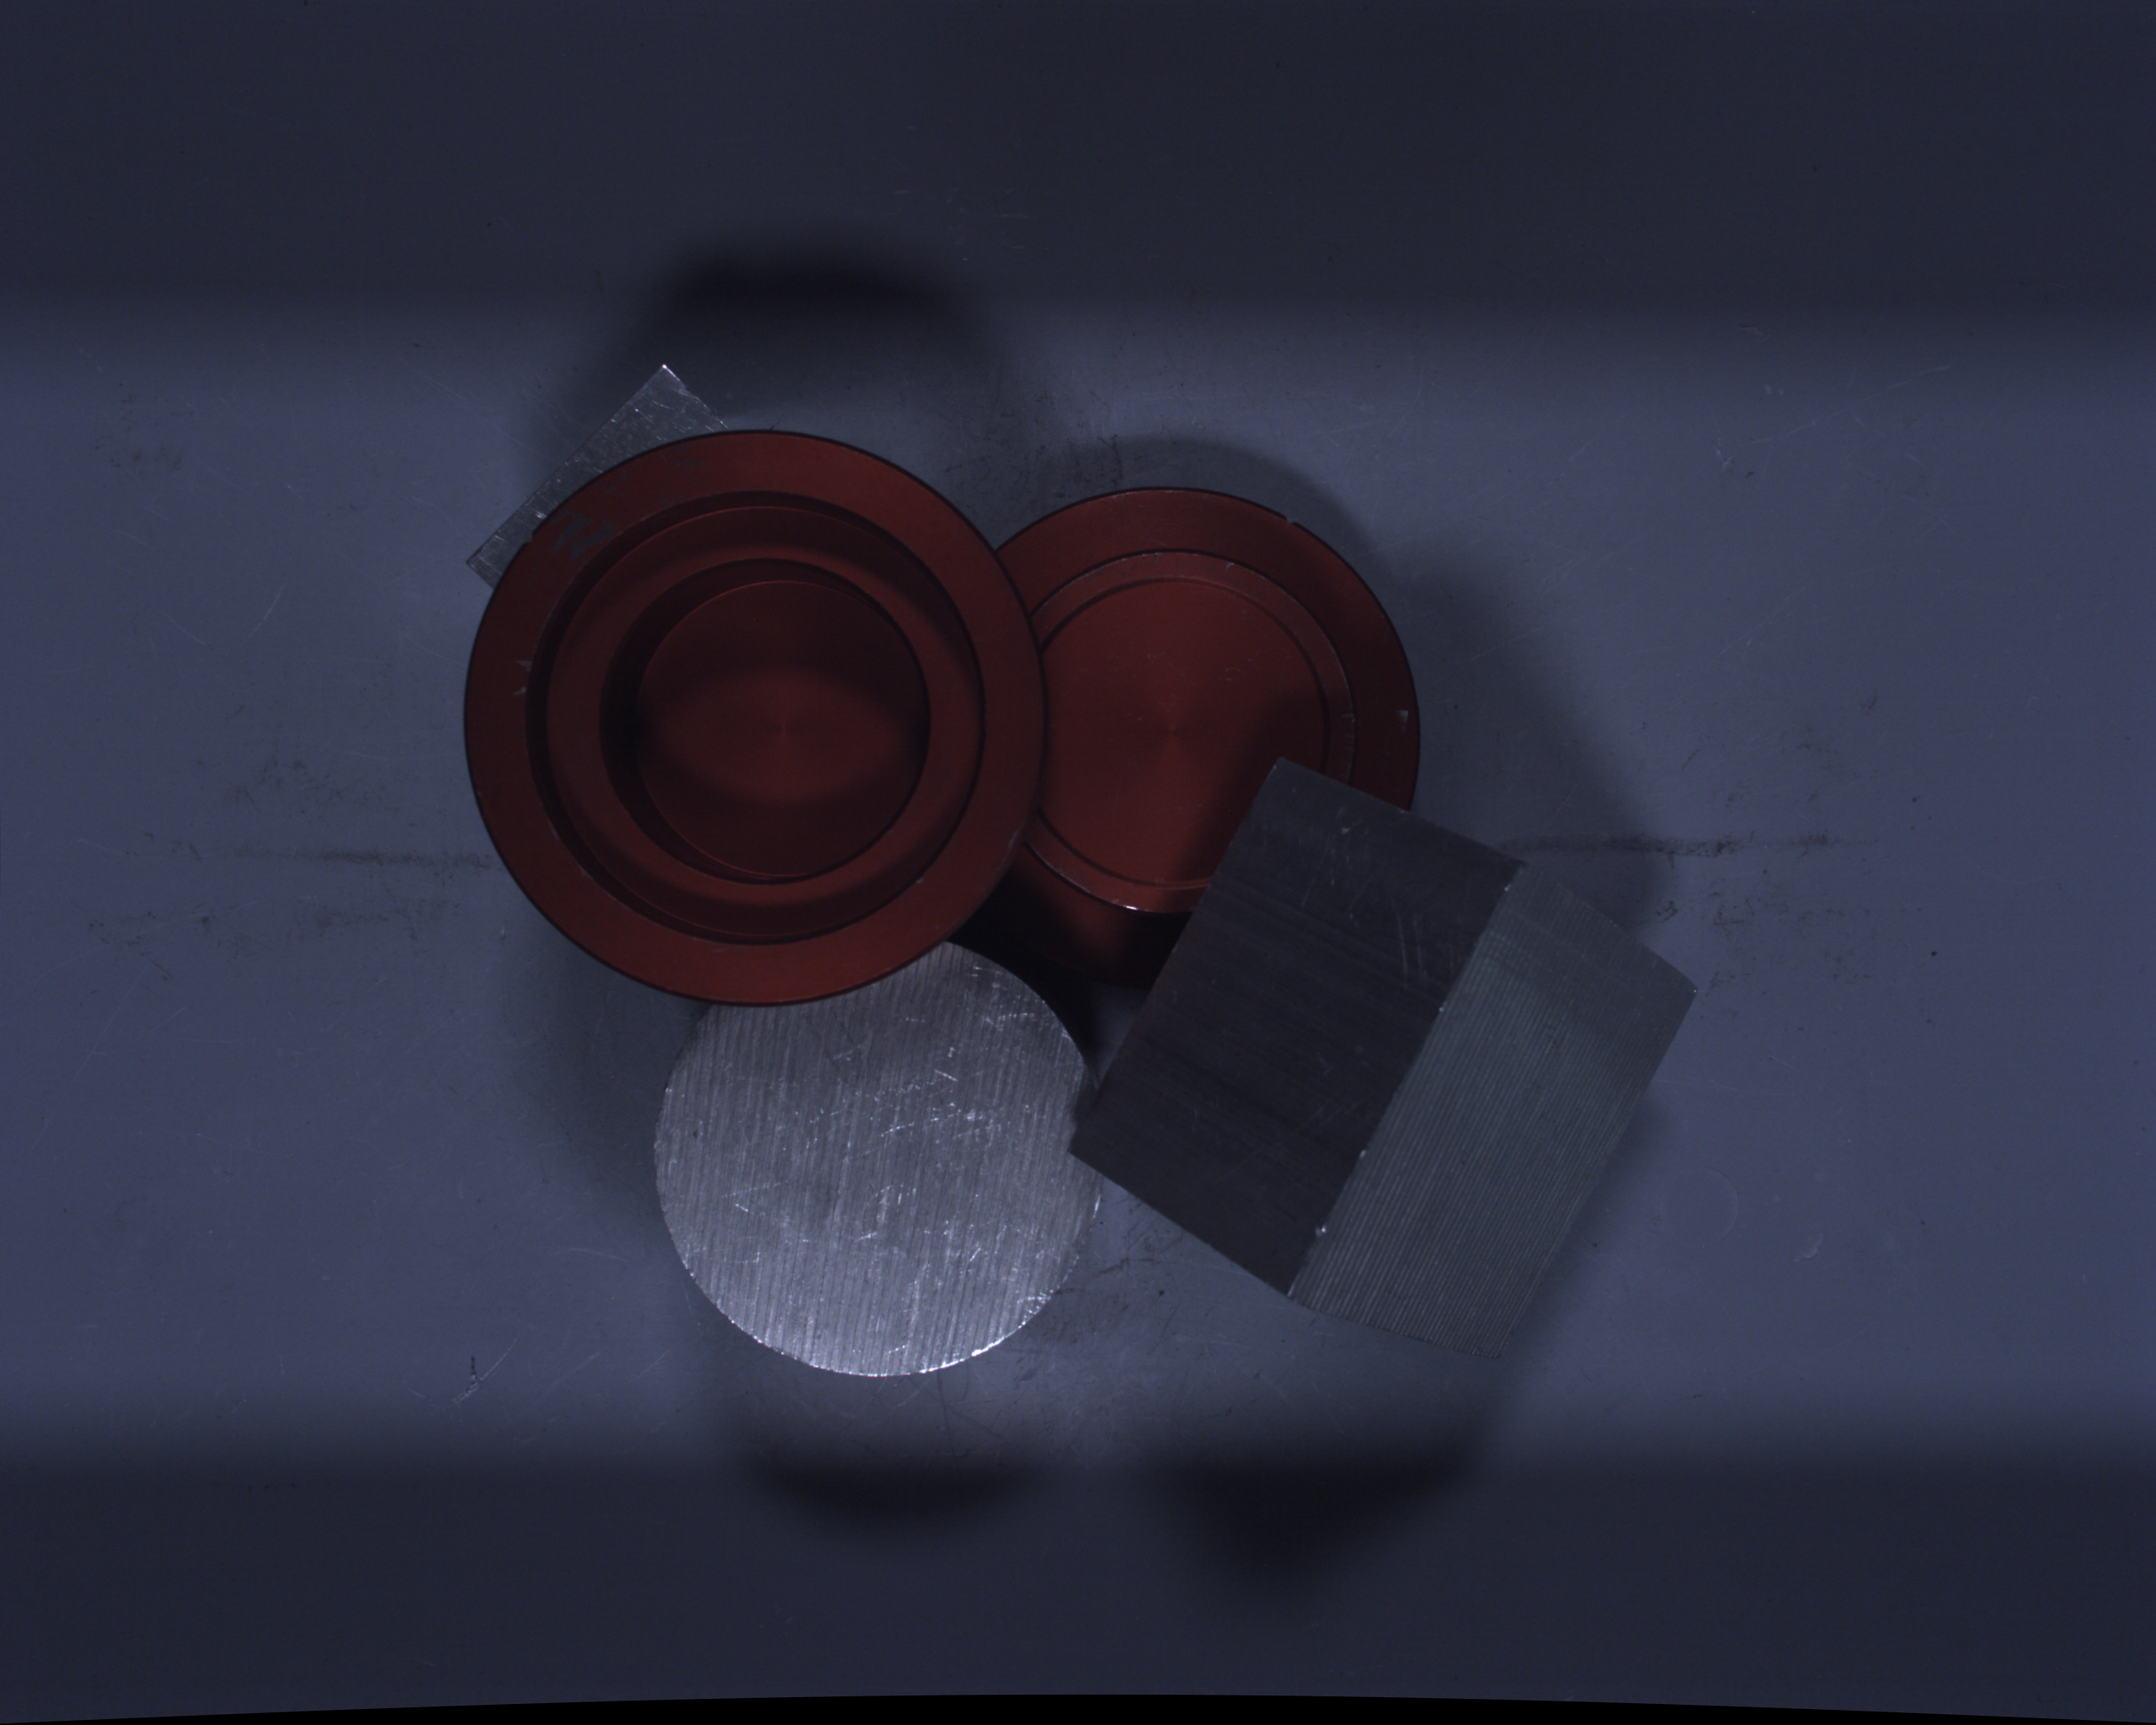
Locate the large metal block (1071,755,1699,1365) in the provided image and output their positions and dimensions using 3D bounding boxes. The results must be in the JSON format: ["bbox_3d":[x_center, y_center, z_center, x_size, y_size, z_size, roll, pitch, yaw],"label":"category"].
[{"bbox_3d":[0.058,0.038,0.376,0.050,0.080,0.080,28,89,40],"label":"large metal block"}]

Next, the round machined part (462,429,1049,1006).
[{"bbox_3d":[-0.054,-0.025,0.371,0.099,0.042,0.097,0,90,-1],"label":"round machined part"}]

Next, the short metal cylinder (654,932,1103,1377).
[{"bbox_3d":[-0.035,0.052,0.397,0.081,0.050,0.079,0,90,-1],"label":"short metal cylinder"}]

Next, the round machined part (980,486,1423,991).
[{"bbox_3d":[0.017,-0.024,0.400,0.099,0.042,0.097,0,90,-1],"label":"round machined part"}]

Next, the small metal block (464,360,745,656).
[{"bbox_3d":[-0.083,-0.063,0.396,0.025,0.050,0.050,44,90,-1],"label":"small metal block"}]
